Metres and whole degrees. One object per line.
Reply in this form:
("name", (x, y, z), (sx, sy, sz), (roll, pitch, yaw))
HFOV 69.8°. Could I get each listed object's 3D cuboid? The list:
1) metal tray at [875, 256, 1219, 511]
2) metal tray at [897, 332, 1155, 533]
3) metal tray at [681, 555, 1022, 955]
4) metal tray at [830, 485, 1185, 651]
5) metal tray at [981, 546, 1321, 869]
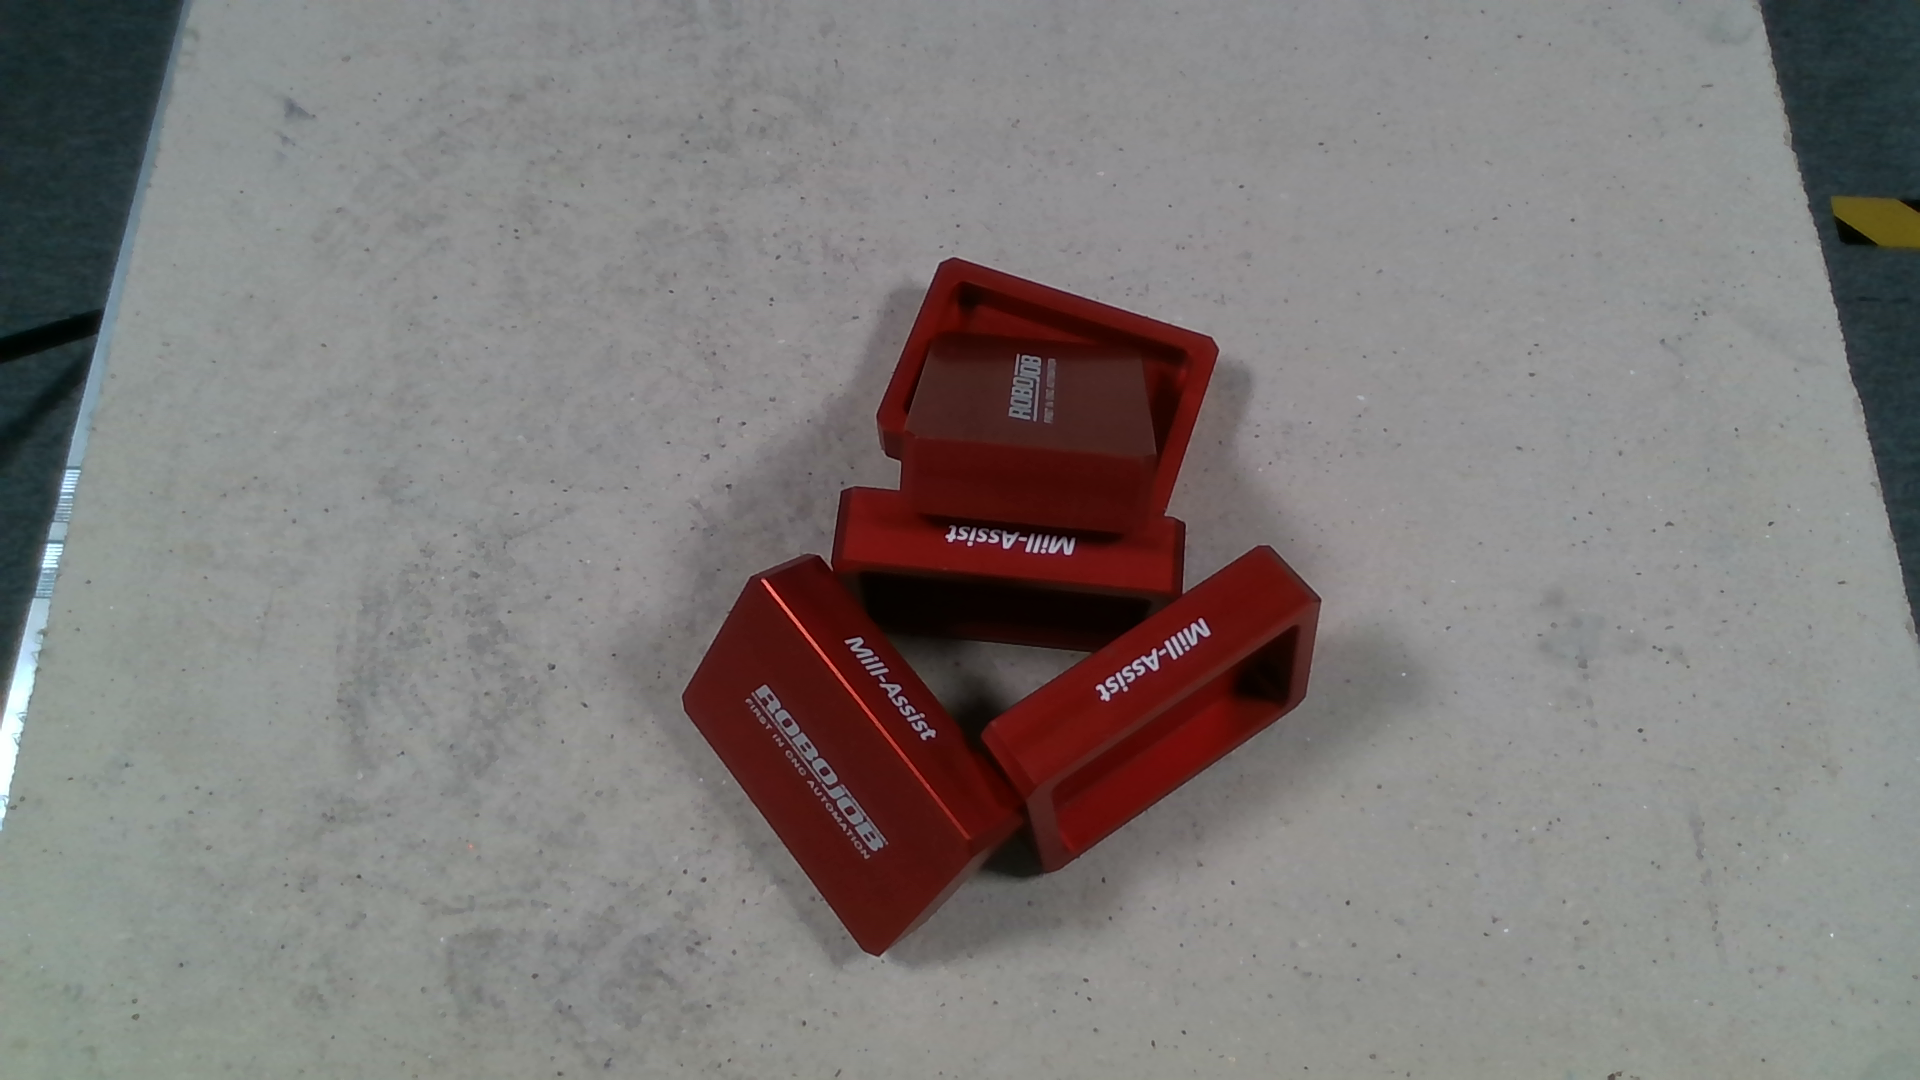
("metal tray", (0.038, -0.063, 0.608), (0.130, 0.030, 0.090), (19, 71, 6))
("metal tray", (0.027, -0.047, 0.545), (0.090, 0.030, 0.130), (6, 26, 2))
("metal tray", (-0.045, 0.081, 0.524), (0.030, 0.090, 0.130), (-24, 68, -46))
("metal tray", (0.018, 0.014, 0.549), (0.130, 0.090, 0.030), (6, 70, 3))
("metal tray", (0.075, 0.066, 0.528), (0.130, 0.090, 0.030), (-32, 59, -11))
